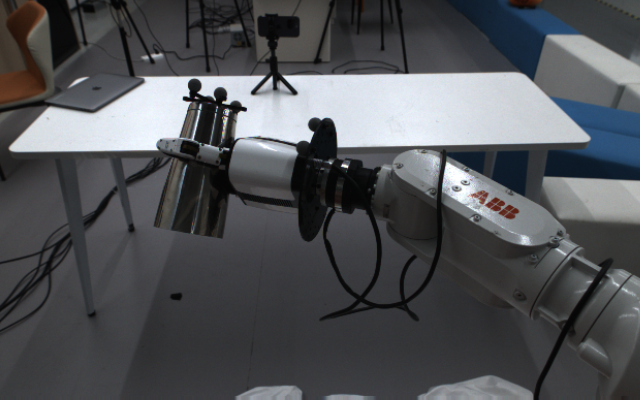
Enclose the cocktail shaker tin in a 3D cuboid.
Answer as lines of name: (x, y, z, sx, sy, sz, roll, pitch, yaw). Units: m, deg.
cocktail shaker tin: (-0.159, -0.039, 0.650, 0.093, 0.170, 0.093, 10, -5, 1)
